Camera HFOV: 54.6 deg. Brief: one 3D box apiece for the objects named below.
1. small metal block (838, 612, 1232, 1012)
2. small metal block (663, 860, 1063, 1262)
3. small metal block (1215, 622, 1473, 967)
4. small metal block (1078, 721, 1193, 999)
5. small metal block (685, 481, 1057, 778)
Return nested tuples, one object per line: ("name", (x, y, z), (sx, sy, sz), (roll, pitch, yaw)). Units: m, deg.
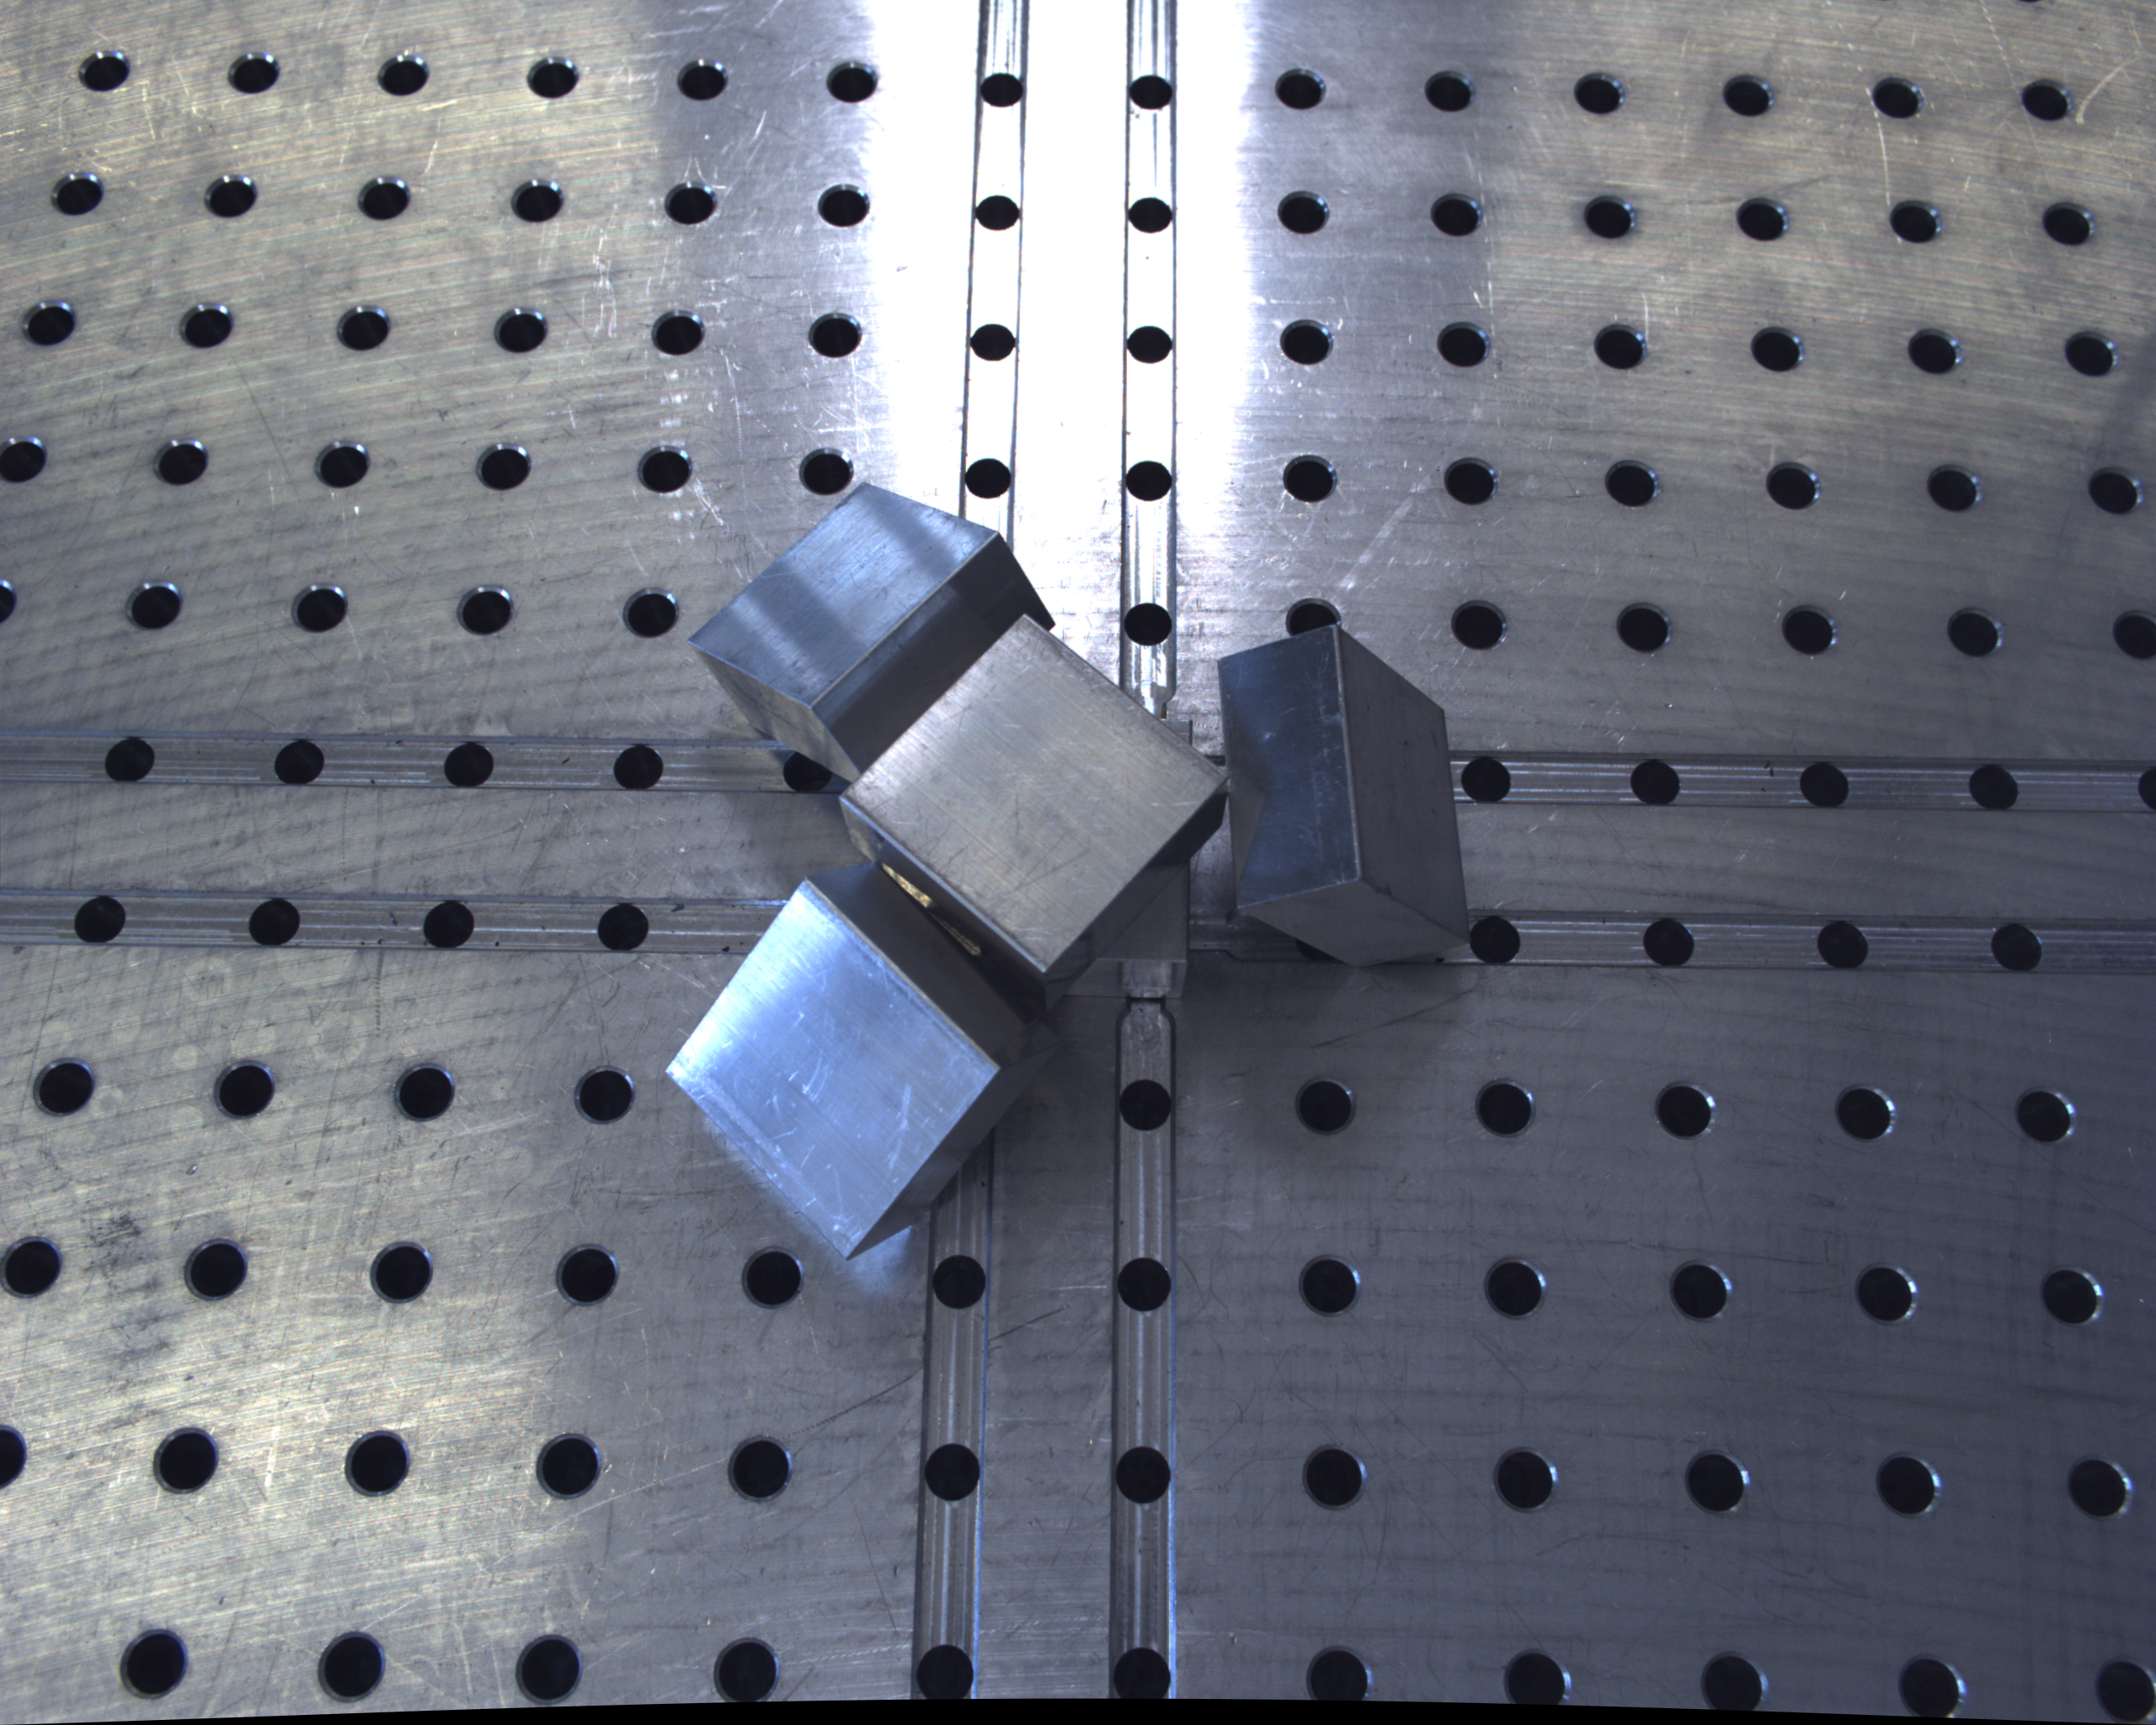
("small metal block", (-0.008, -0.009, 0.388), (0.050, 0.025, 0.050), (40, 74, 12))
("small metal block", (-0.040, 0.036, 0.385), (0.050, 0.025, 0.050), (43, 113, 14))
("small metal block", (0.051, -0.011, 0.400), (0.025, 0.050, 0.050), (-15, 67, 30))
("small metal block", (-0.003, -0.001, 0.412), (0.050, 0.025, 0.050), (1, 73, 0))
("small metal block", (-0.041, -0.046, 0.415), (0.050, 0.025, 0.050), (-45, 40, -15))
